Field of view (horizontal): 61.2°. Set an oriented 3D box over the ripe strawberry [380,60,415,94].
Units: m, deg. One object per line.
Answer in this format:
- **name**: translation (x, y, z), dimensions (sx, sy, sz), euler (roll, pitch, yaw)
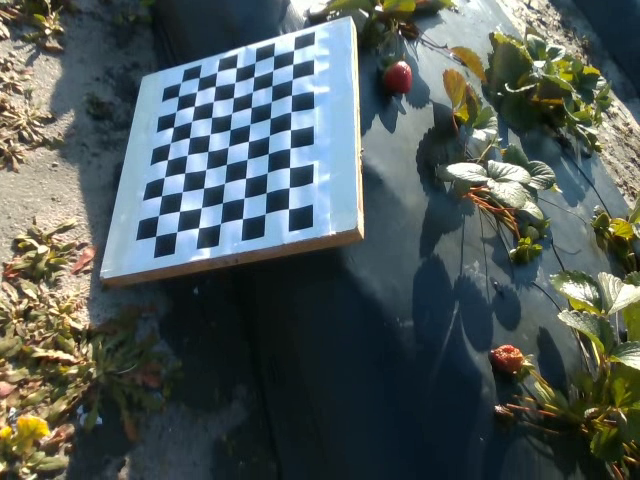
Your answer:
- **ripe strawberry**: translation (0.105, -0.207, 0.693), dimensions (0.044, 0.064, 0.044), euler (-26, -32, 9)
